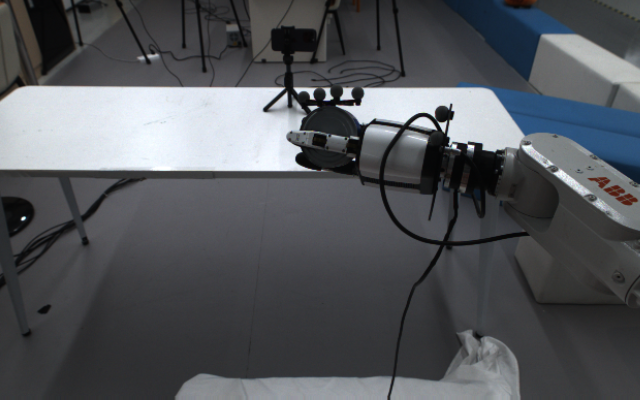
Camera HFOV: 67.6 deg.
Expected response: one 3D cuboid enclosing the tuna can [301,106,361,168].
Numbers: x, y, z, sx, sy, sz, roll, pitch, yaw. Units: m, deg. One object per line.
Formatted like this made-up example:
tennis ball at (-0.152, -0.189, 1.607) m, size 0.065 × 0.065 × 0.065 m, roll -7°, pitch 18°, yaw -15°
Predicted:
tuna can at (0.016, -0.089, 0.685) m, size 0.085 × 0.085 × 0.034 m, roll 15°, pitch 10°, yaw 18°
